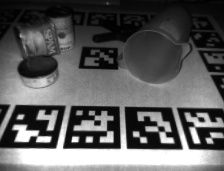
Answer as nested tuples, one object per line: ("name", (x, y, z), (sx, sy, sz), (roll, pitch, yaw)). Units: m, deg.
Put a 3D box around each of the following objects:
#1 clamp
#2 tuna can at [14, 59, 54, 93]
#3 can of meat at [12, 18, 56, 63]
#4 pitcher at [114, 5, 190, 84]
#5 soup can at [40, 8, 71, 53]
("clamp", (0.003, -0.159, 0.677), (0.165, 0.037, 0.121), (6, 41, -4))
("tuna can", (-0.183, -0.023, 0.516), (0.086, 0.034, 0.085), (2, 47, -2))
("can of meat", (-0.200, -0.107, 0.546), (0.084, 0.102, 0.057), (-29, 54, -23))
("pitcher", (0.116, -0.121, 0.561), (0.186, 0.134, 0.243), (0, 33, 28))
("soup can", (-0.153, -0.151, 0.599), (0.068, 0.102, 0.067), (0, 47, 1))
